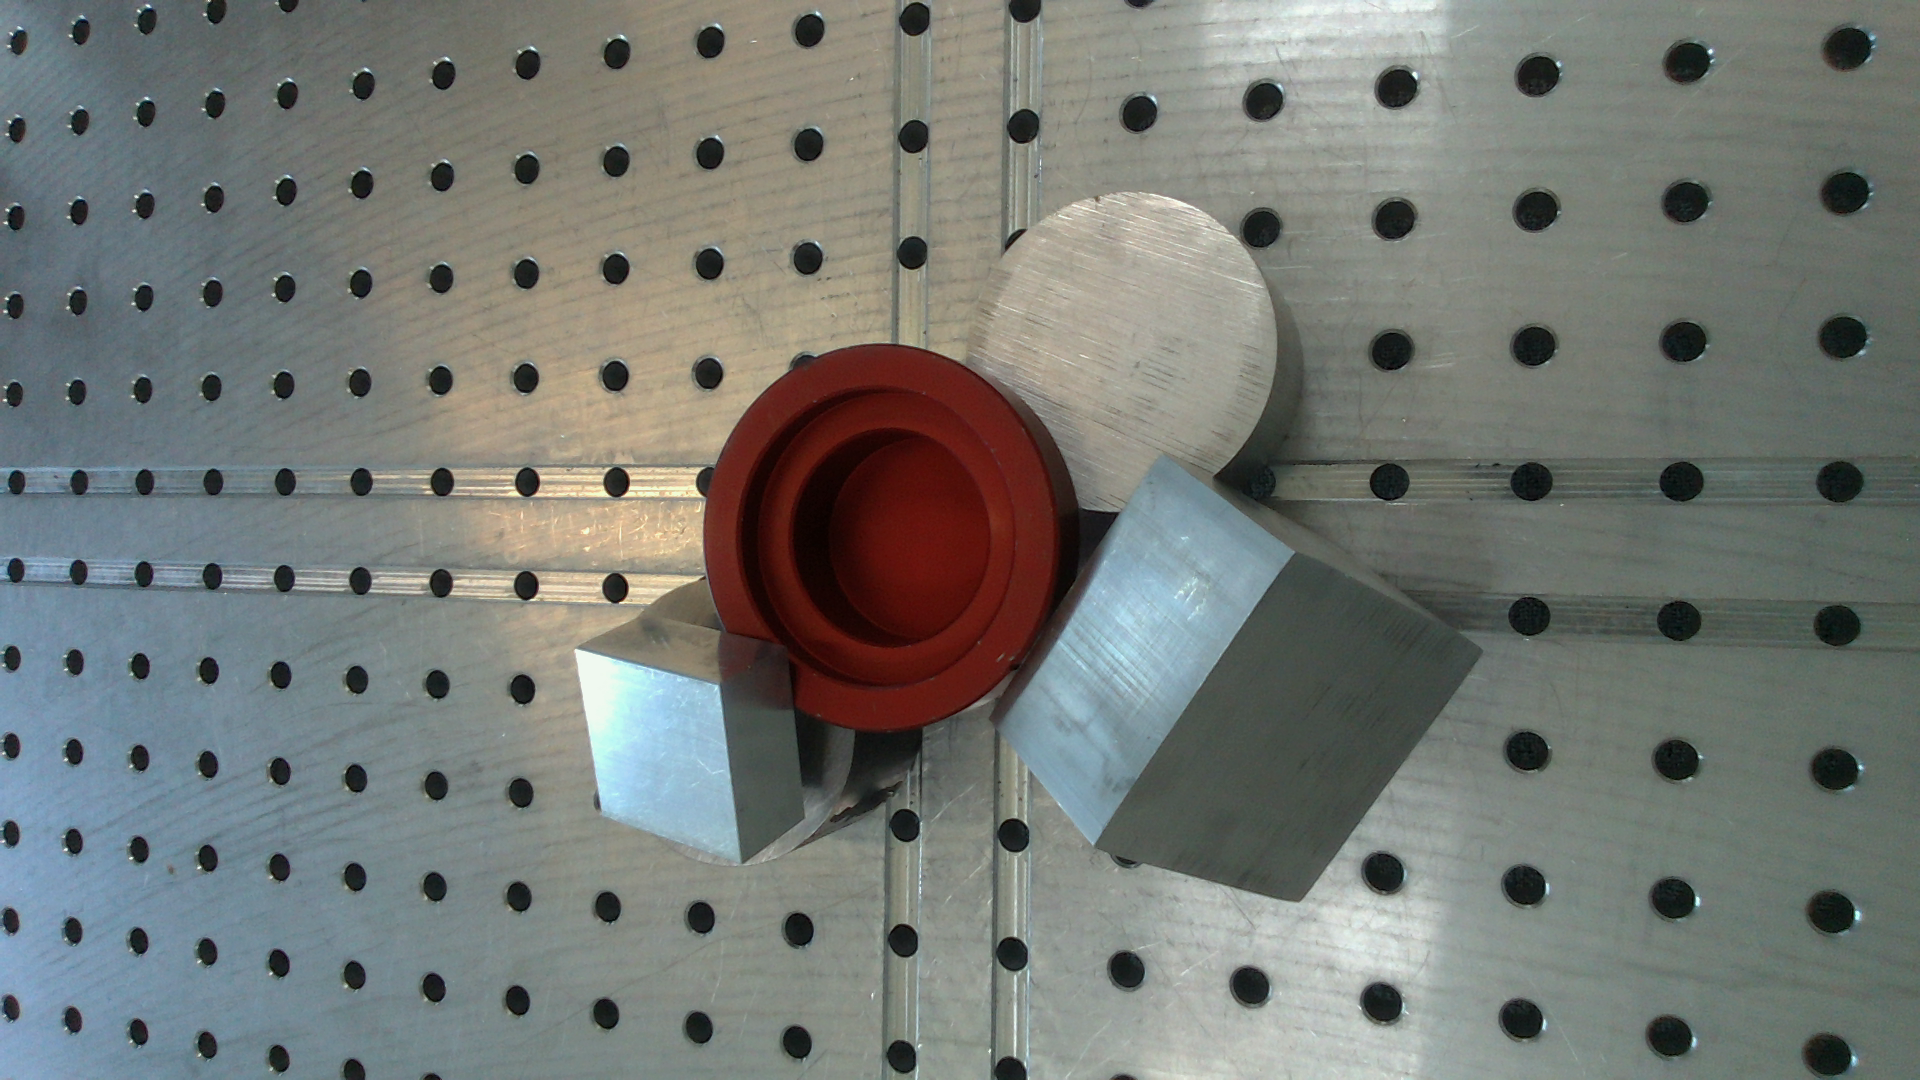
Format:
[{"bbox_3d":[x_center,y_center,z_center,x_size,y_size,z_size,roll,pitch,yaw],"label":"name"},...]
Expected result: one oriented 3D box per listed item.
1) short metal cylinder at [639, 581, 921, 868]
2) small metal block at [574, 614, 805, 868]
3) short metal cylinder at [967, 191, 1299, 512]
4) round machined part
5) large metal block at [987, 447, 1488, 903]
[{"bbox_3d":[-0.057,0.051,0.405,0.080,0.050,0.080,0,90,20],"label":"short metal cylinder"},{"bbox_3d":[-0.070,0.051,0.357,0.050,0.025,0.050,9,113,32],"label":"small metal block"},{"bbox_3d":[0.048,-0.047,0.367,0.080,0.050,0.080,0,90,20],"label":"short metal cylinder"},{"bbox_3d":[-0.015,-0.001,0.363,0.098,0.042,0.098,0,90,20],"label":"round machined part"},{"bbox_3d":[0.068,0.035,0.338,0.080,0.080,0.050,-58,39,11],"label":"large metal block"}]
